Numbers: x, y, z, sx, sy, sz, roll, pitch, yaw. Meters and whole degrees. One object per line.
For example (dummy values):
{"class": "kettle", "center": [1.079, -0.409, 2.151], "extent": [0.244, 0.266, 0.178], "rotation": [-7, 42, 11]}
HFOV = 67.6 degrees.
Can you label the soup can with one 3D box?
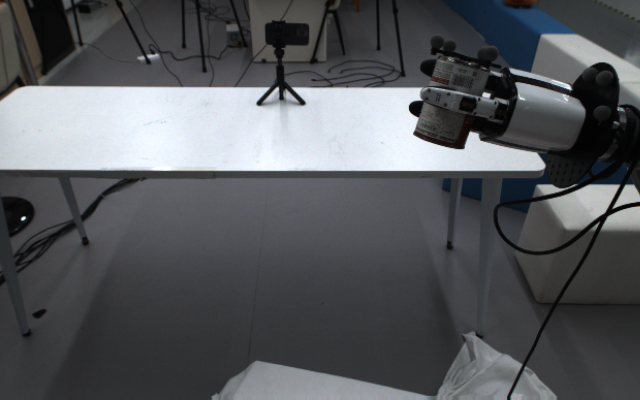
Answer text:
{"class": "soup can", "center": [0.166, -0.124, 0.613], "extent": [0.067, 0.101, 0.067], "rotation": [13, 18, -4]}
